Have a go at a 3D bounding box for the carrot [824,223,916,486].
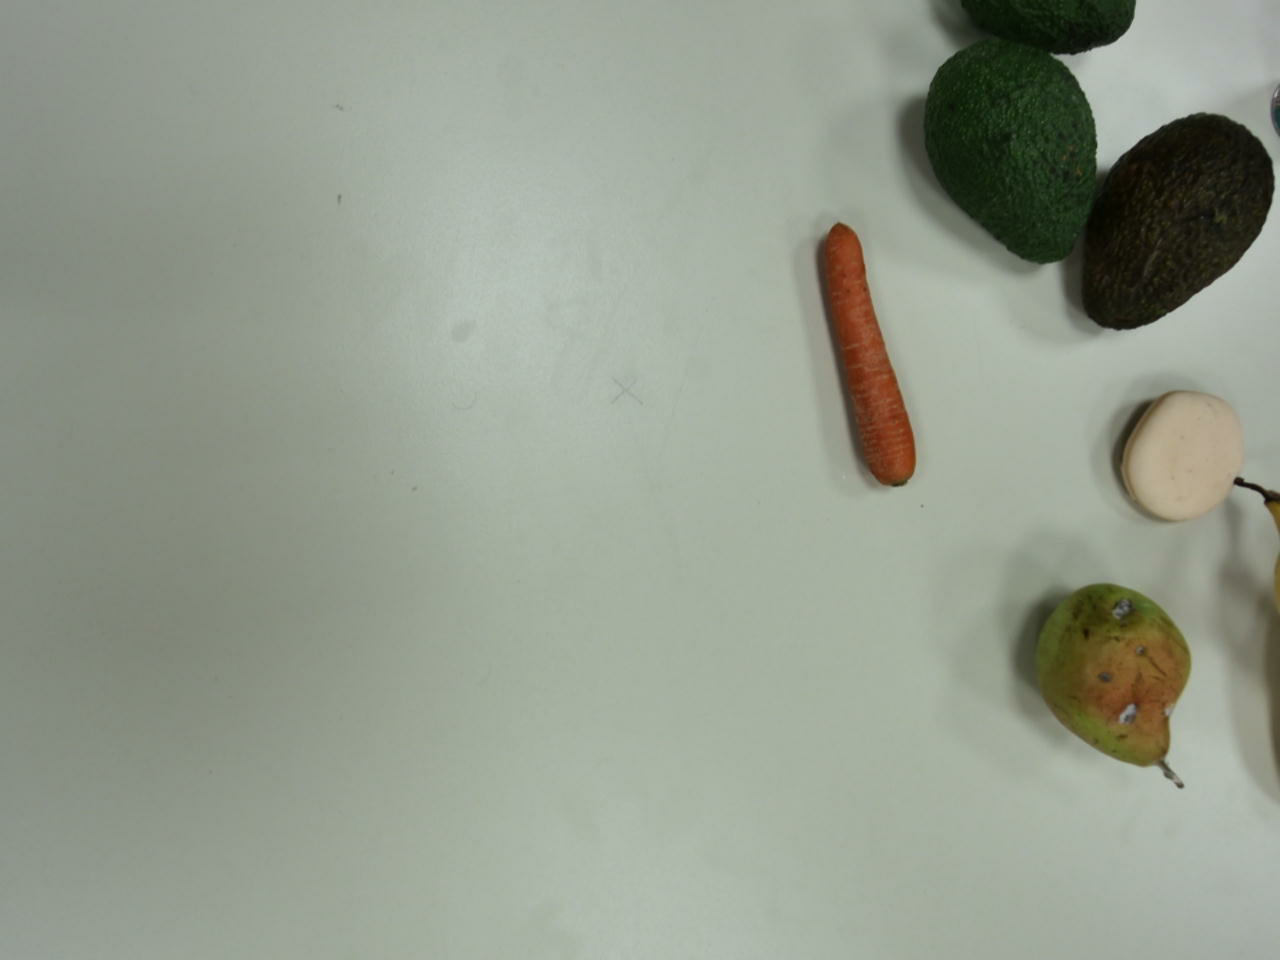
[{"bbox_3d":[0.103,-0.056,0.452,0.024,0.023,0.122,-13,93,-12],"label":"carrot"}]
